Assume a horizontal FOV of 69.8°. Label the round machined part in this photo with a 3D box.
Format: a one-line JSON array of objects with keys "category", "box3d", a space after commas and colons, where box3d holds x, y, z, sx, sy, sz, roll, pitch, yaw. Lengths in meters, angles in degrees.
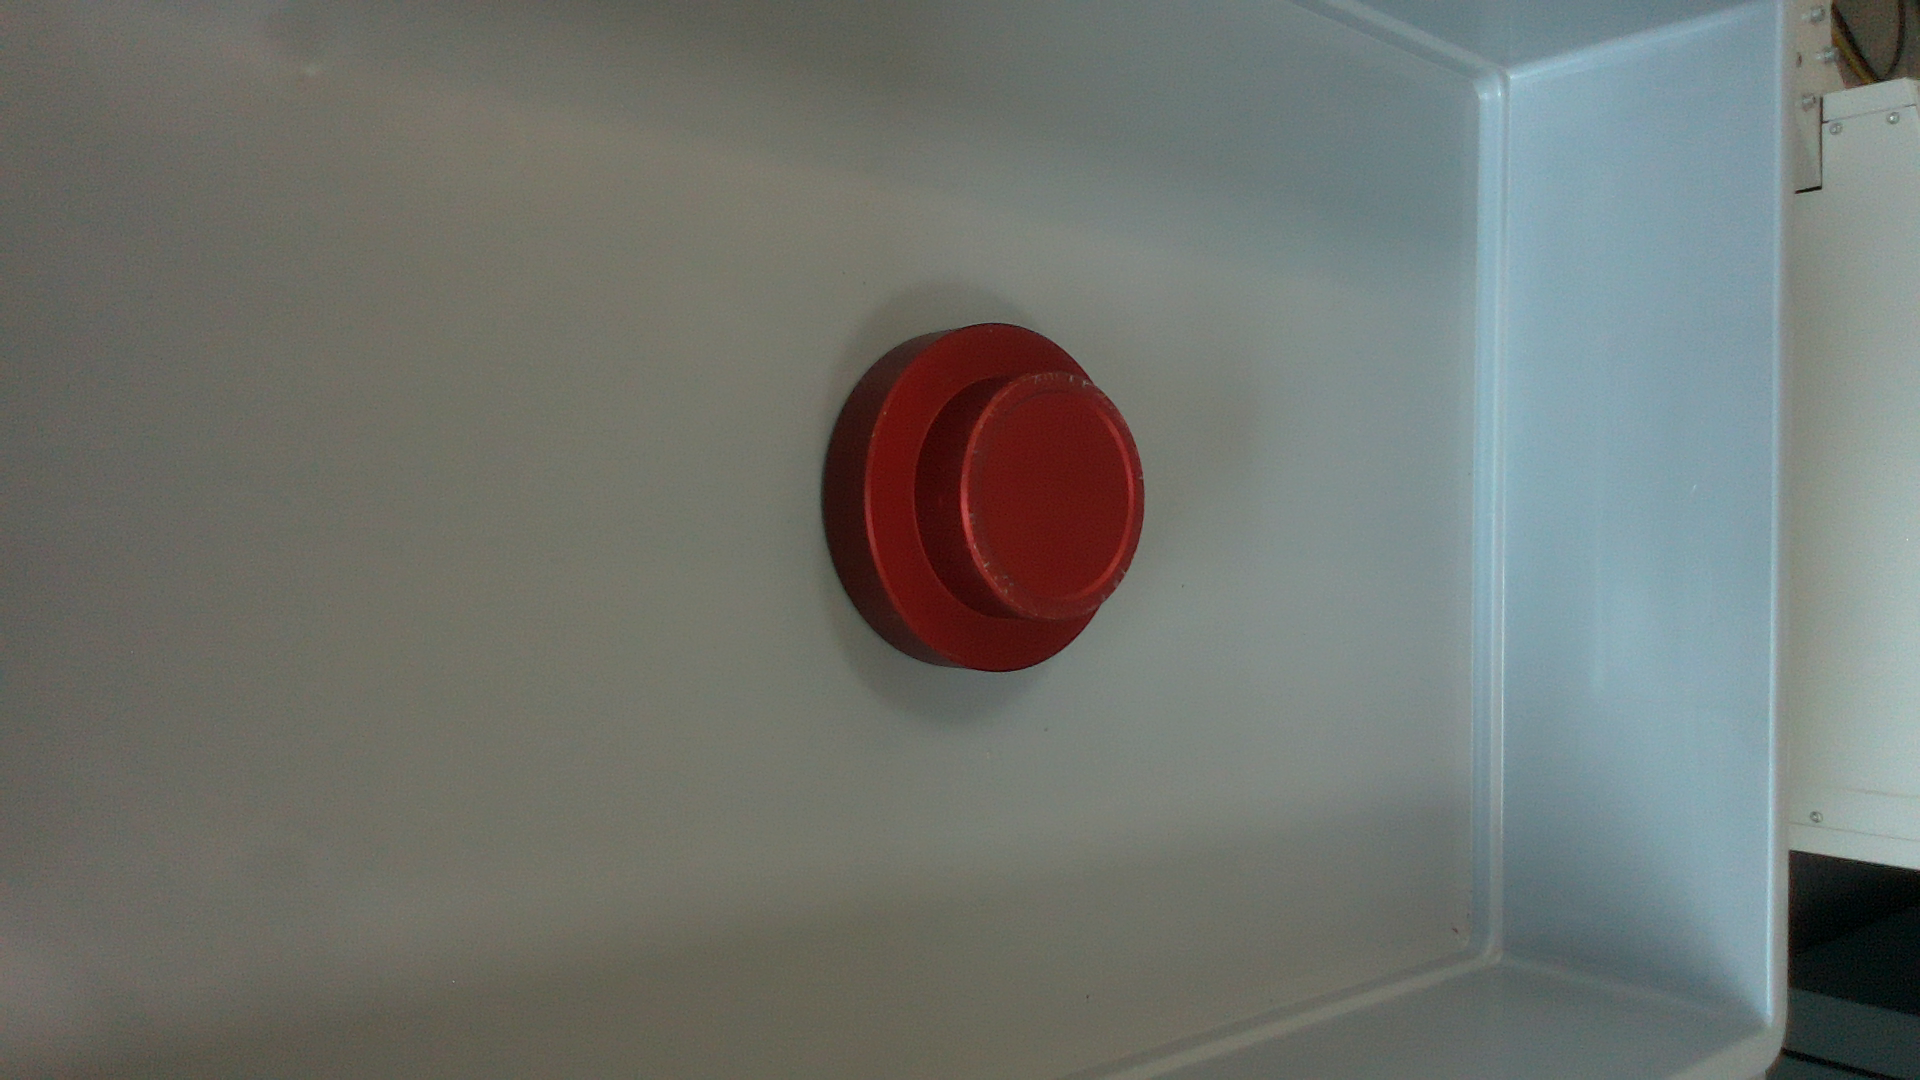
[{"category": "round machined part", "box3d": [0.014, -0.012, 0.385, 0.098, 0.042, 0.098, 0, 90, -40]}]
